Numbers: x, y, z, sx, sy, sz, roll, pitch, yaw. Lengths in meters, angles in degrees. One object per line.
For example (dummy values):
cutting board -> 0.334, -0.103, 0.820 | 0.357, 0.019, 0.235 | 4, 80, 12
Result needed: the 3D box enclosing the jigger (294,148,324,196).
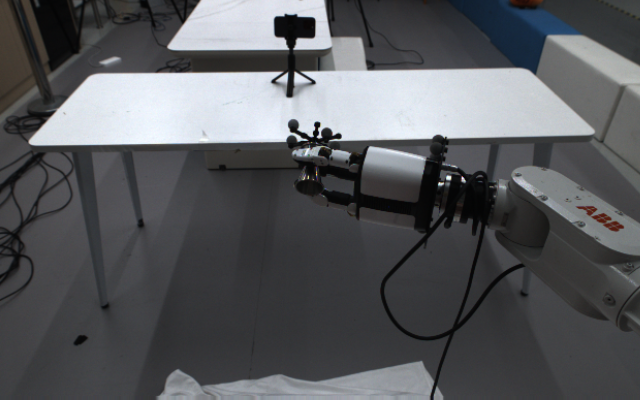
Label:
jigger -> -0.014, -0.050, 0.718 | 0.043, 0.043, 0.071 | 4, 60, 2
